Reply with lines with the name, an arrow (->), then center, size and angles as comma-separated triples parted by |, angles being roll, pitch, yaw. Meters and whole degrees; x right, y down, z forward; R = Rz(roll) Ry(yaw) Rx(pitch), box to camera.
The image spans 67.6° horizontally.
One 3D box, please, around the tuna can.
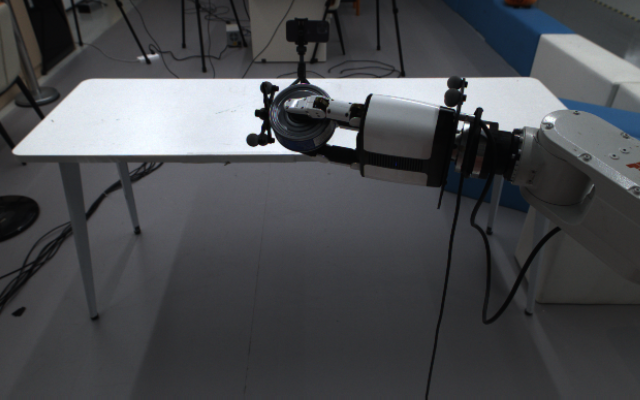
tuna can -> -0.020, -0.109, 0.632 | 0.085, 0.034, 0.085 | -3, 68, 6
